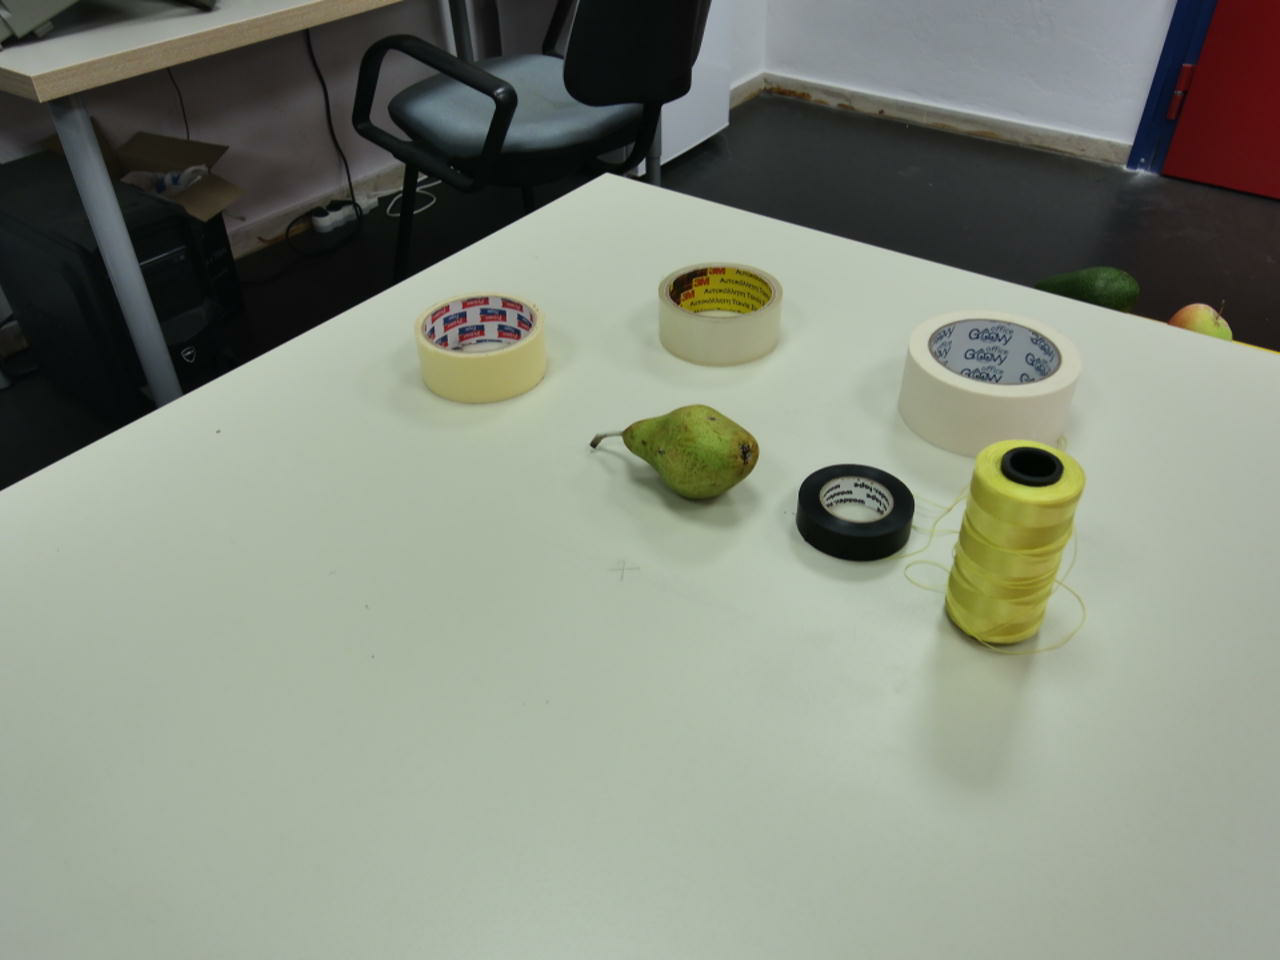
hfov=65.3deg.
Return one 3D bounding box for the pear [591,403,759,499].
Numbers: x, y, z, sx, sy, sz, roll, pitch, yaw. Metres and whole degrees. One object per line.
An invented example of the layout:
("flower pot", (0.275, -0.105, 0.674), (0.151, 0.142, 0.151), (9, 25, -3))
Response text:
("pear", (0.023, -0.025, 0.610), (0.056, 0.056, 0.111), (-26, 44, -29))
